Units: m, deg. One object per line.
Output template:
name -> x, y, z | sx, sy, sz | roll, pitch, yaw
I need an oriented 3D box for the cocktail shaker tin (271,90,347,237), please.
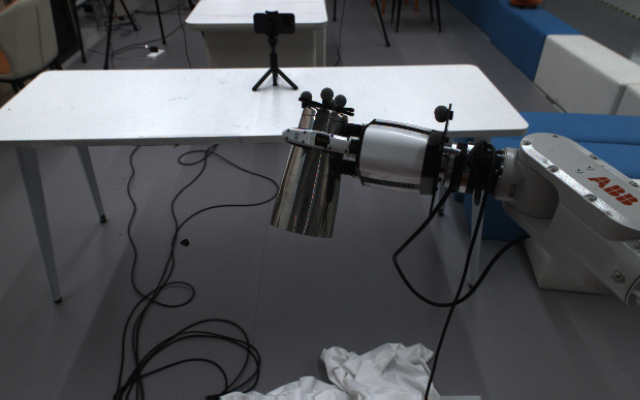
cocktail shaker tin -> -0.009, -0.044, 0.689 | 0.093, 0.170, 0.093 | 12, 3, -1
